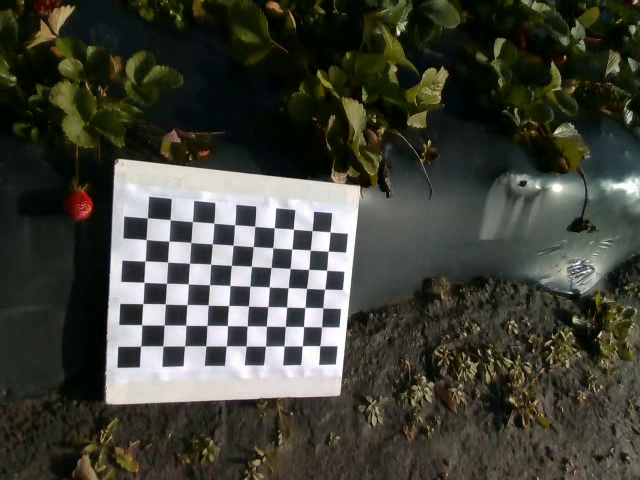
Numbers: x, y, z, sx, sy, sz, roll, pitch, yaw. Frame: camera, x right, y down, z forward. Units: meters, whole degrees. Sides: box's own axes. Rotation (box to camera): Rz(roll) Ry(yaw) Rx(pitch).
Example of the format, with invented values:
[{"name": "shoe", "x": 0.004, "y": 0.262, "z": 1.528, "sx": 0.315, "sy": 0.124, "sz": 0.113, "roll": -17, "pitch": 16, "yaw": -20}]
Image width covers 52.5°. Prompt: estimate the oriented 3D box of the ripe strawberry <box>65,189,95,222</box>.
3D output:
[{"name": "ripe strawberry", "x": -0.222, "y": -0.027, "z": 0.600, "sx": 0.034, "sy": 0.033, "sz": 0.038, "roll": 2, "pitch": 42, "yaw": -21}]
